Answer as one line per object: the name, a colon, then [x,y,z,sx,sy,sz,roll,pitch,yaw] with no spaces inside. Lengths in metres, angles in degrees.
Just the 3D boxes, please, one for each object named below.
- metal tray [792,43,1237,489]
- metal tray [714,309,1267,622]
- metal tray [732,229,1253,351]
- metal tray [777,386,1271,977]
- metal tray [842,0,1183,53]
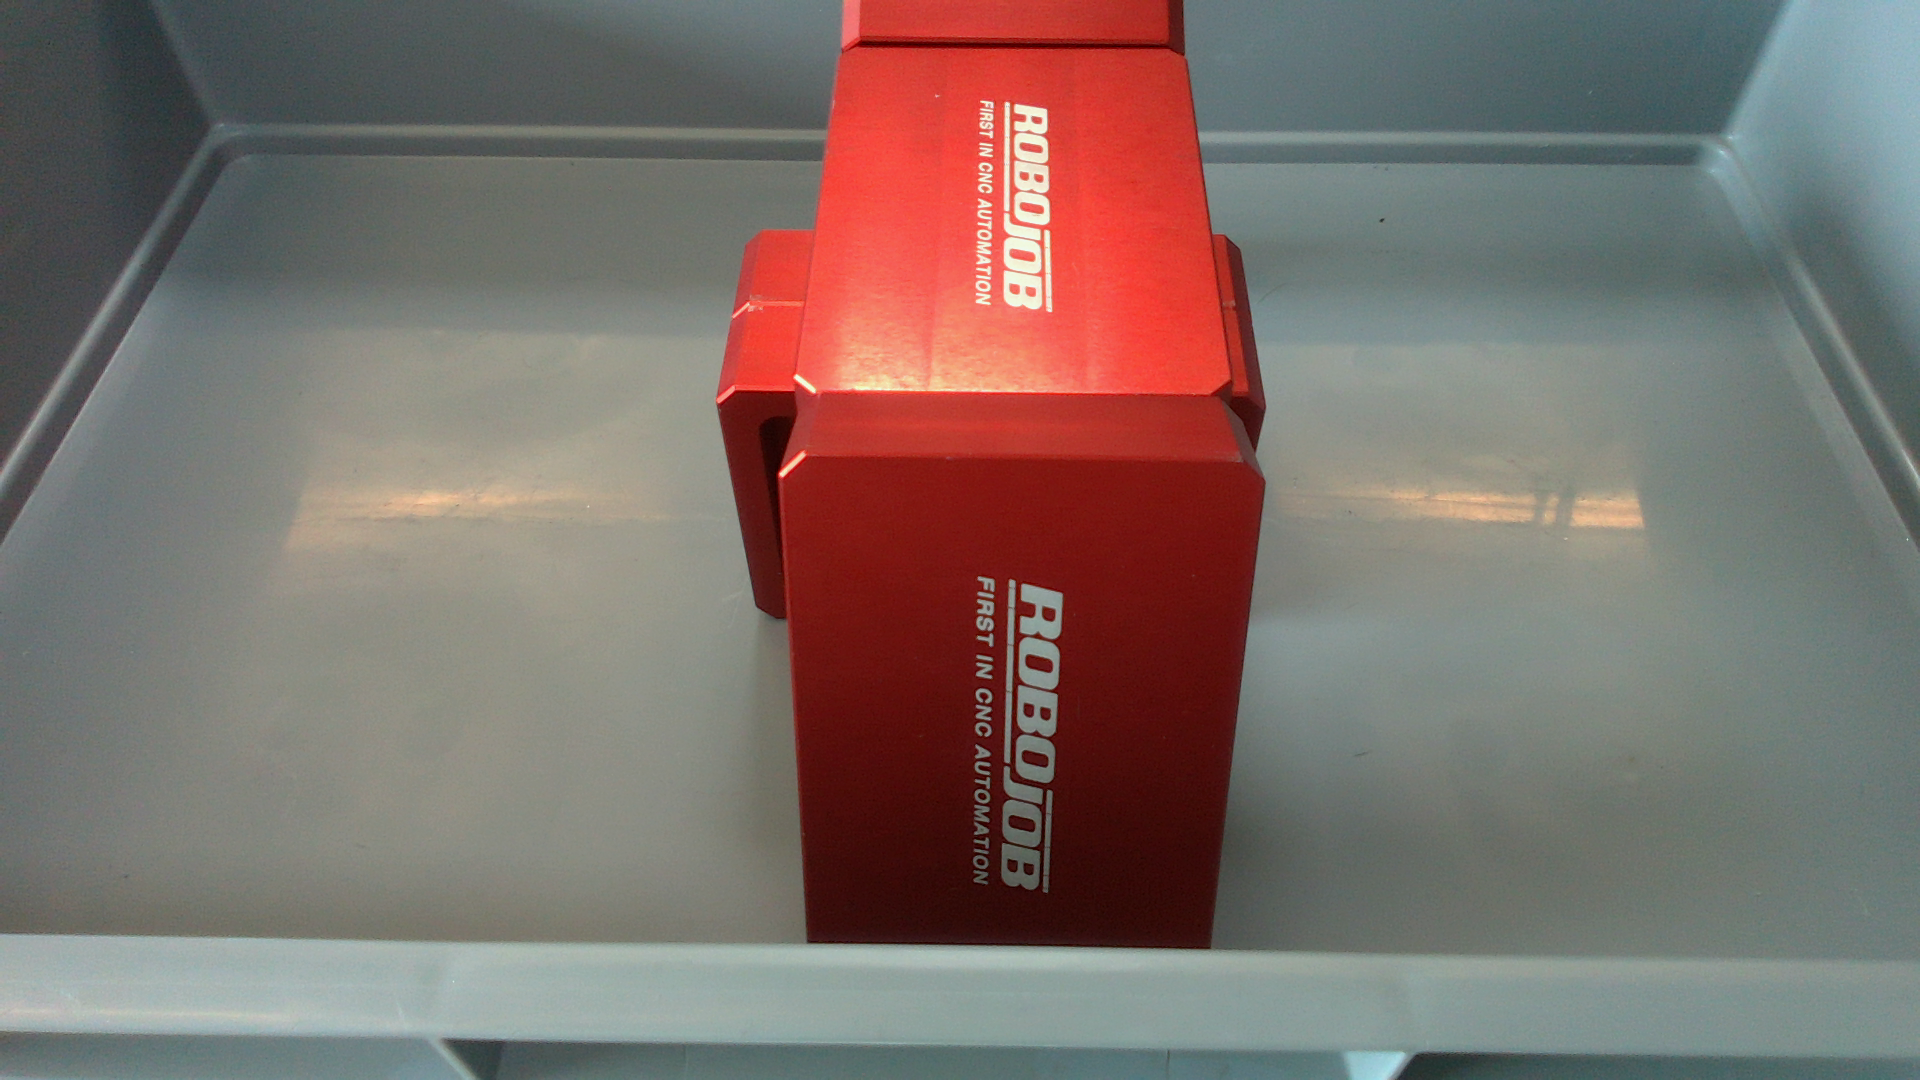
metal tray: [0.012,-0.070,0.328,0.090,0.030,0.130,1,50,0]
metal tray: [0.008,-0.016,0.362,0.130,0.090,0.030,1,50,1]
metal tray: [0.009,-0.041,0.382,0.130,0.090,0.030,1,50,1]
metal tray: [0.011,0.034,0.291,0.090,0.130,0.030,1,28,0]
metal tray: [0.015,-0.122,0.423,0.090,0.130,0.030,1,70,1]
